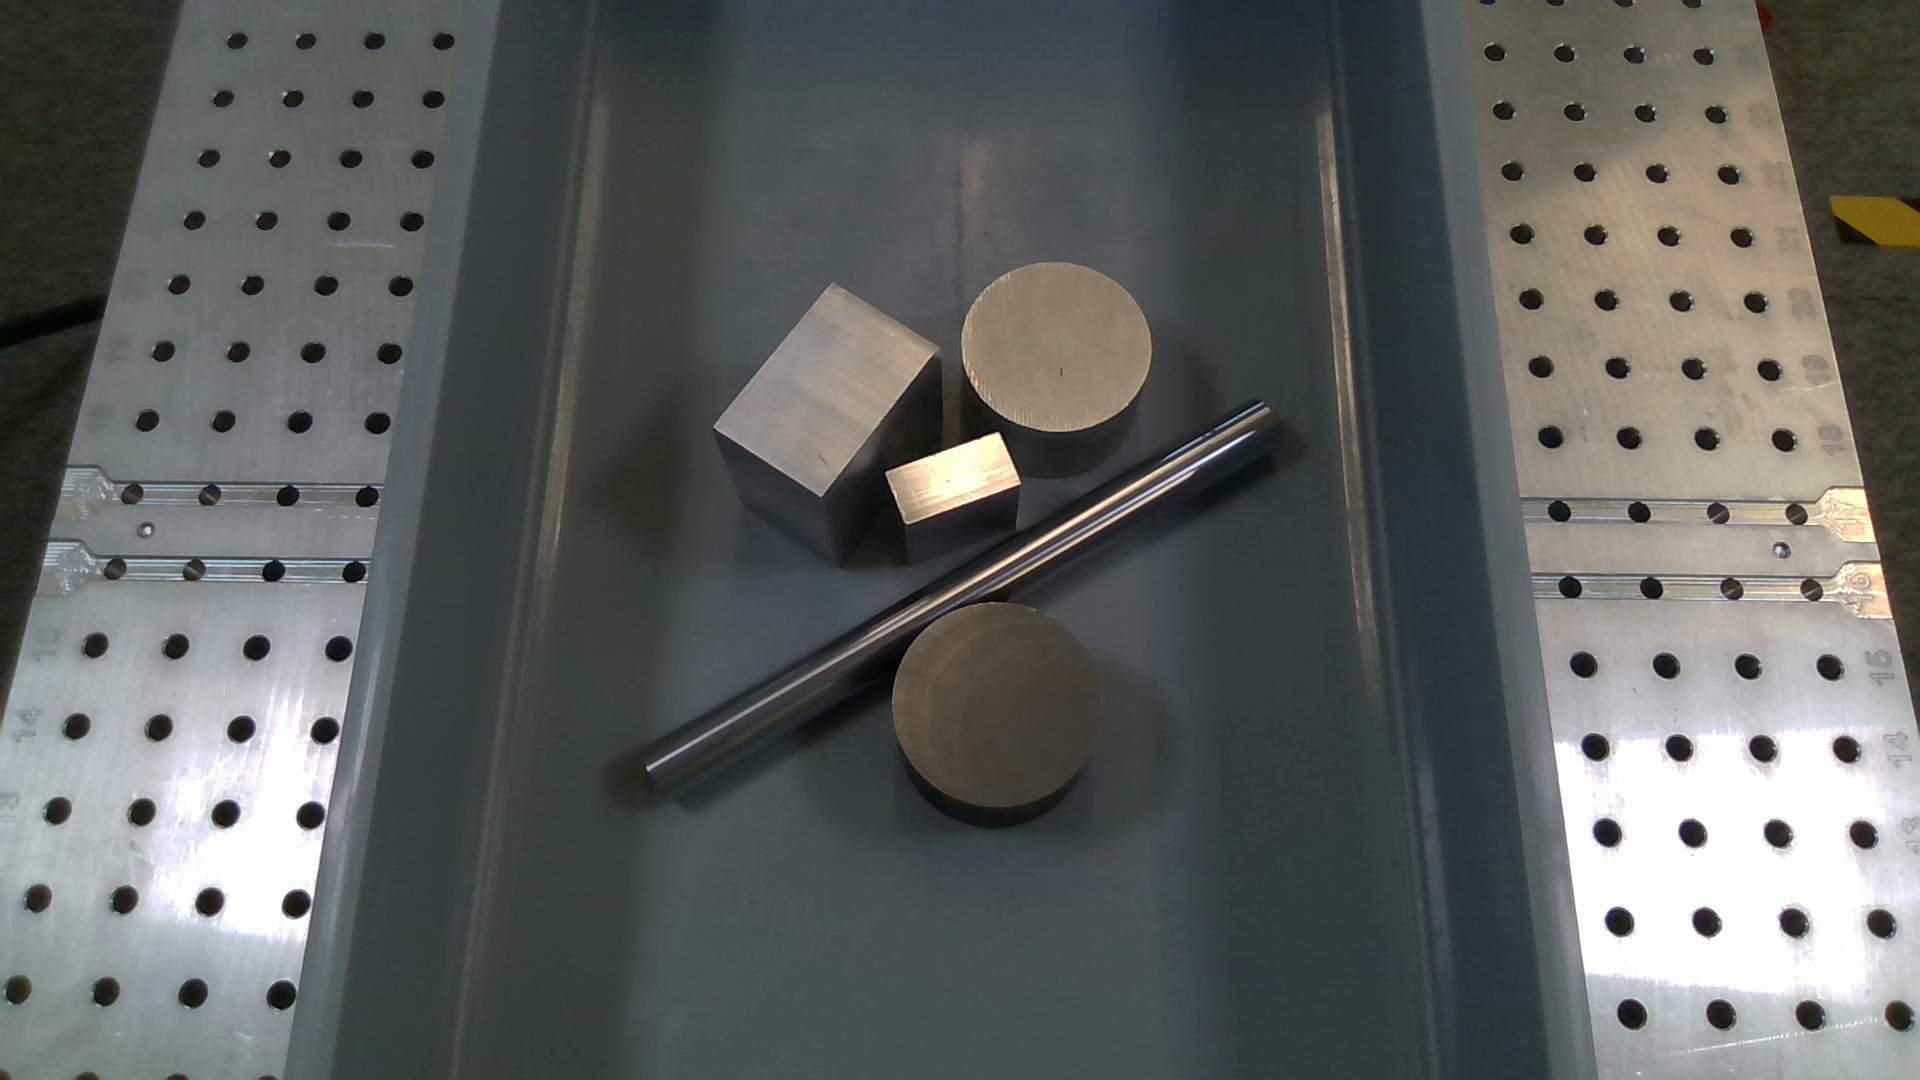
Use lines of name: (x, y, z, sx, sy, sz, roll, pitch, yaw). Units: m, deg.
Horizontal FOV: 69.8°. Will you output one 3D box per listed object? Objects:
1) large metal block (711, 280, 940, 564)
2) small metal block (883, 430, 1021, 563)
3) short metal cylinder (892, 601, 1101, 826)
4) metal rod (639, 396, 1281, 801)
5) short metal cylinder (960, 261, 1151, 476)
large metal block: (-0.052, -0.046, 0.573, 0.050, 0.080, 0.080, 32, 73, 12)
small metal block: (-0.003, -0.017, 0.579, 0.050, 0.050, 0.025, -20, 71, -7)
short metal cylinder: (0.014, 0.070, 0.549, 0.080, 0.050, 0.080, 0, 70, 0)
metal rod: (0.005, 0.021, 0.579, 0.300, 0.025, 0.025, -30, 73, -10)
short metal cylinder: (0.040, -0.074, 0.600, 0.080, 0.050, 0.080, 0, 70, 0)
